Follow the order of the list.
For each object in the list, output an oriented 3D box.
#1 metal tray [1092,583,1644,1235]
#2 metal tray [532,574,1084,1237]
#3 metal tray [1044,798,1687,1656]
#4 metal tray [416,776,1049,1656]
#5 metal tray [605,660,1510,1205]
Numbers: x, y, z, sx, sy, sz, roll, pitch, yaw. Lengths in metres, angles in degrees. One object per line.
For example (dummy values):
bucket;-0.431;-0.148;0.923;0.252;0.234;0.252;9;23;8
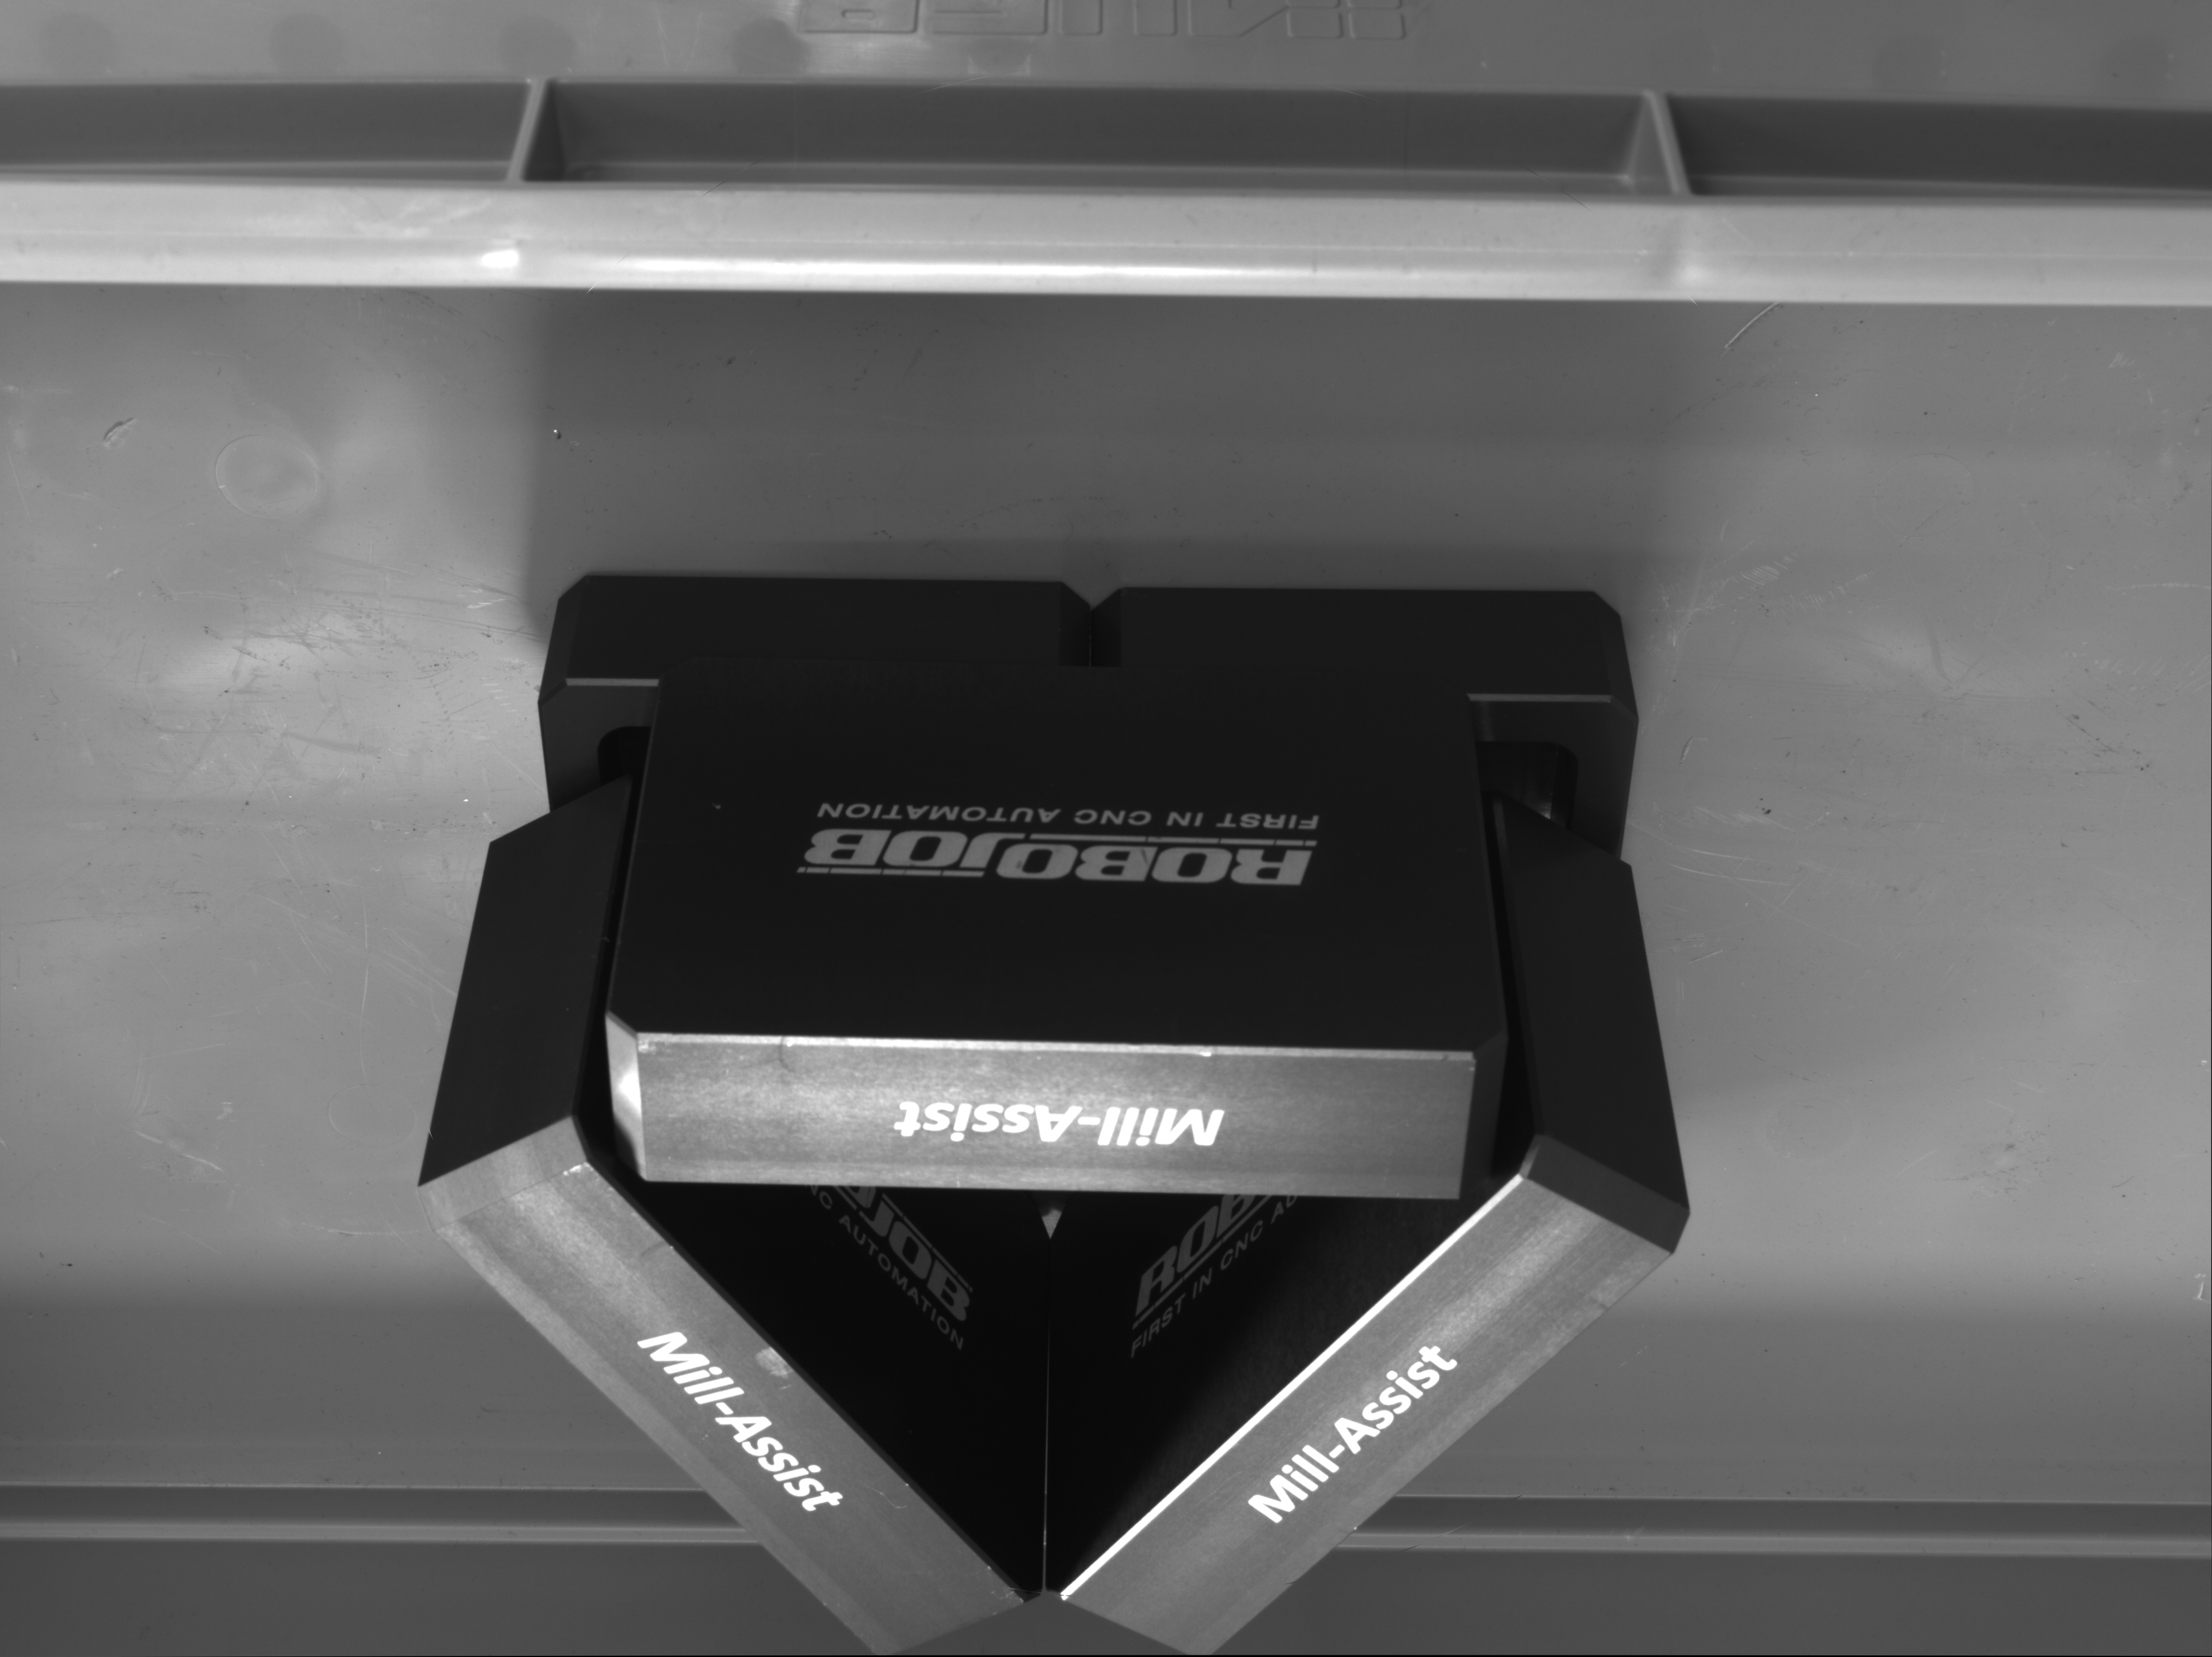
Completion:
metal tray;0.042;0.019;0.651;0.090;0.030;0.130;1;129;-1
metal tray;-0.049;0.017;0.650;0.090;0.030;0.130;0;129;0
metal tray;0.039;0.068;0.611;0.030;0.090;0.130;28;125;-21
metal tray;-0.057;0.065;0.610;0.030;0.090;0.130;-25;126;20
metal tray;-0.007;0.014;0.567;0.130;0.090;0.030;2;130;-1
